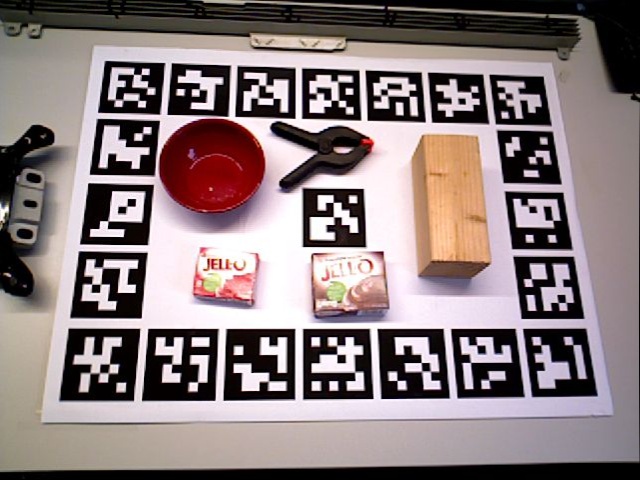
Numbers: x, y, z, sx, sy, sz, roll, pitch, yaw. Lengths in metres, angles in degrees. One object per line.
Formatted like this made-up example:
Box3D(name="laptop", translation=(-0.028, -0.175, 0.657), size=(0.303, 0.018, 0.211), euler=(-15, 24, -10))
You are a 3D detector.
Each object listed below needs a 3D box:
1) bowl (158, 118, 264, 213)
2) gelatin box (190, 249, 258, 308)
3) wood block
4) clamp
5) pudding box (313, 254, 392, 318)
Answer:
Box3D(name="bowl", translation=(-0.167, -0.108, 0.836), size=(0.160, 0.056, 0.161), euler=(1, 75, -5))
Box3D(name="gelatin box", translation=(-0.139, 0.056, 0.793), size=(0.089, 0.030, 0.073), euler=(8, 74, -2))
Box3D(name="wood block", translation=(0.203, -0.050, 0.819), size=(0.089, 0.092, 0.205), euler=(3, 73, -5))
Box3D(name="clamp", translation=(-0.009, -0.144, 0.870), size=(0.163, 0.037, 0.121), euler=(-10, 73, -9))
Box3D(name="pudding box", translation=(0.046, 0.068, 0.799), size=(0.113, 0.039, 0.089), euler=(-1, 77, -2))
